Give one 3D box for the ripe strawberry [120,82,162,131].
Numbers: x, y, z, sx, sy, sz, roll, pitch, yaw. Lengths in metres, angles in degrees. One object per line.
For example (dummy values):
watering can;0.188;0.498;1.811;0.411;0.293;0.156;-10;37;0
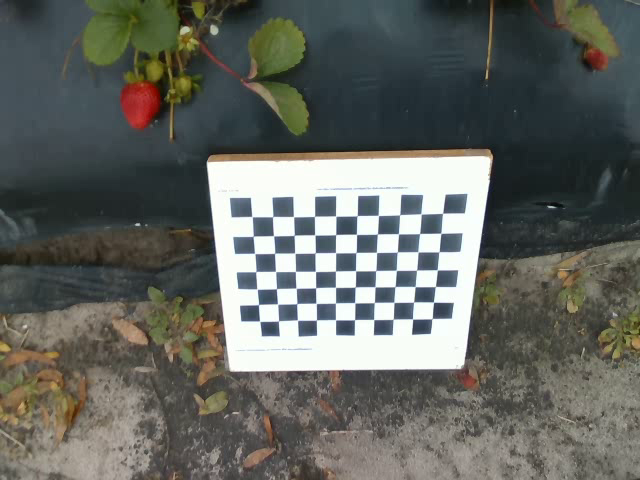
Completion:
ripe strawberry;-0.056;-0.040;0.163;0.018;0.017;0.014;0;-16;-8
